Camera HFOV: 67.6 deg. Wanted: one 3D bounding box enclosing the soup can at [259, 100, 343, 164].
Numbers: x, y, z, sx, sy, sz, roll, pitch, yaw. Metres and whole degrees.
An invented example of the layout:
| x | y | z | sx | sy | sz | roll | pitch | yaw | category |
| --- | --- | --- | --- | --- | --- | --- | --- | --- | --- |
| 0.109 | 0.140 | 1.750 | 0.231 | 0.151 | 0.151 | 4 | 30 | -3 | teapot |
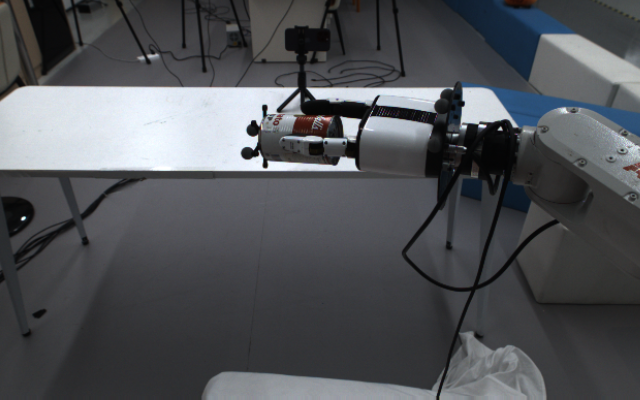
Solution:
| x | y | z | sx | sy | sz | roll | pitch | yaw | category |
| --- | --- | --- | --- | --- | --- | --- | --- | --- | --- |
| -0.024 | -0.084 | 0.668 | 0.101 | 0.067 | 0.067 | 5 | 34 | 18 | soup can |
